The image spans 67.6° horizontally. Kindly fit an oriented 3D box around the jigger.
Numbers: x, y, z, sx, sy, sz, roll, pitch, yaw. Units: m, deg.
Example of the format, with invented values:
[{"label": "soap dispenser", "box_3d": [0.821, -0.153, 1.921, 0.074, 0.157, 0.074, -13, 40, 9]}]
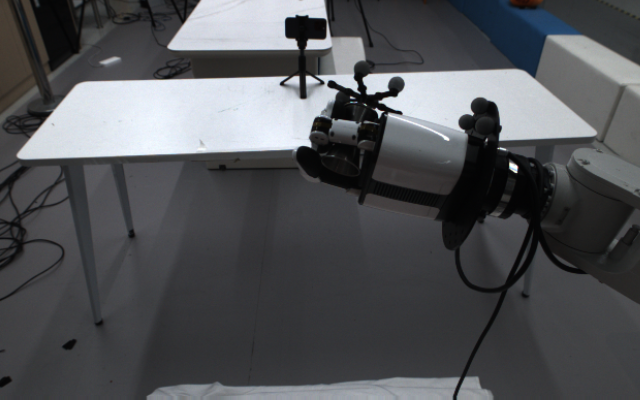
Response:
[{"label": "jigger", "box_3d": [0.035, -0.066, 0.515, 0.043, 0.043, 0.071, 14, 70, 17]}]
